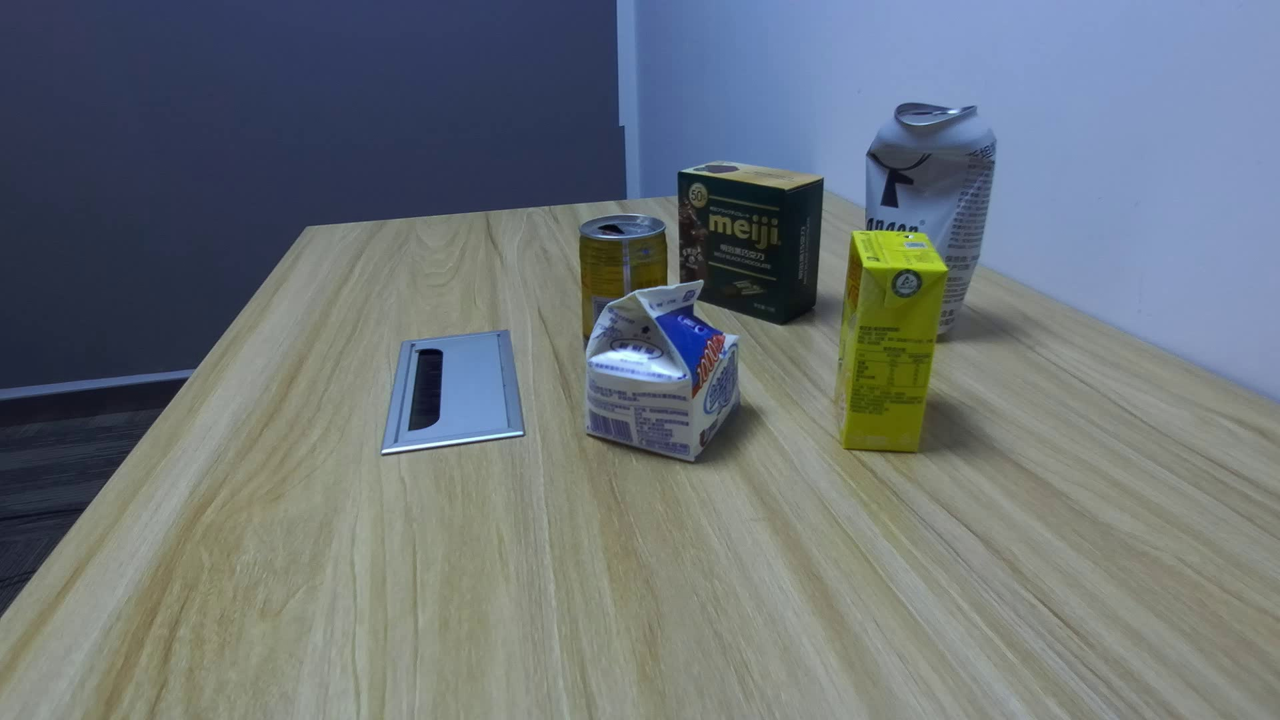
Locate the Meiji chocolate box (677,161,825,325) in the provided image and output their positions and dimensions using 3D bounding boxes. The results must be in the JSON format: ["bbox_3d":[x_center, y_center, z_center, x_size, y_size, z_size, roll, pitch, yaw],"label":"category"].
[{"bbox_3d":[0.088,-0.096,0.570,0.056,0.109,0.109,-26,35,-38],"label":"Meiji chocolate box"}]

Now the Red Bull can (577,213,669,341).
[{"bbox_3d":[-0.011,-0.051,0.505,0.069,0.092,0.069,-1,25,1],"label":"Red Bull can"}]

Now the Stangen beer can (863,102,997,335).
[{"bbox_3d":[0.203,-0.097,0.510,0.077,0.162,0.066,-1,29,6],"label":"Stangen beer can"}]

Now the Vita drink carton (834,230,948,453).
[{"bbox_3d":[0.137,-0.011,0.392,0.043,0.109,0.066,3,27,9],"label":"Vita drink carton"}]

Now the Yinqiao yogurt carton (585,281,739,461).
[{"bbox_3d":[0.012,-0.004,0.402,0.077,0.093,0.083,11,29,26],"label":"Yinqiao yogurt carton"}]
